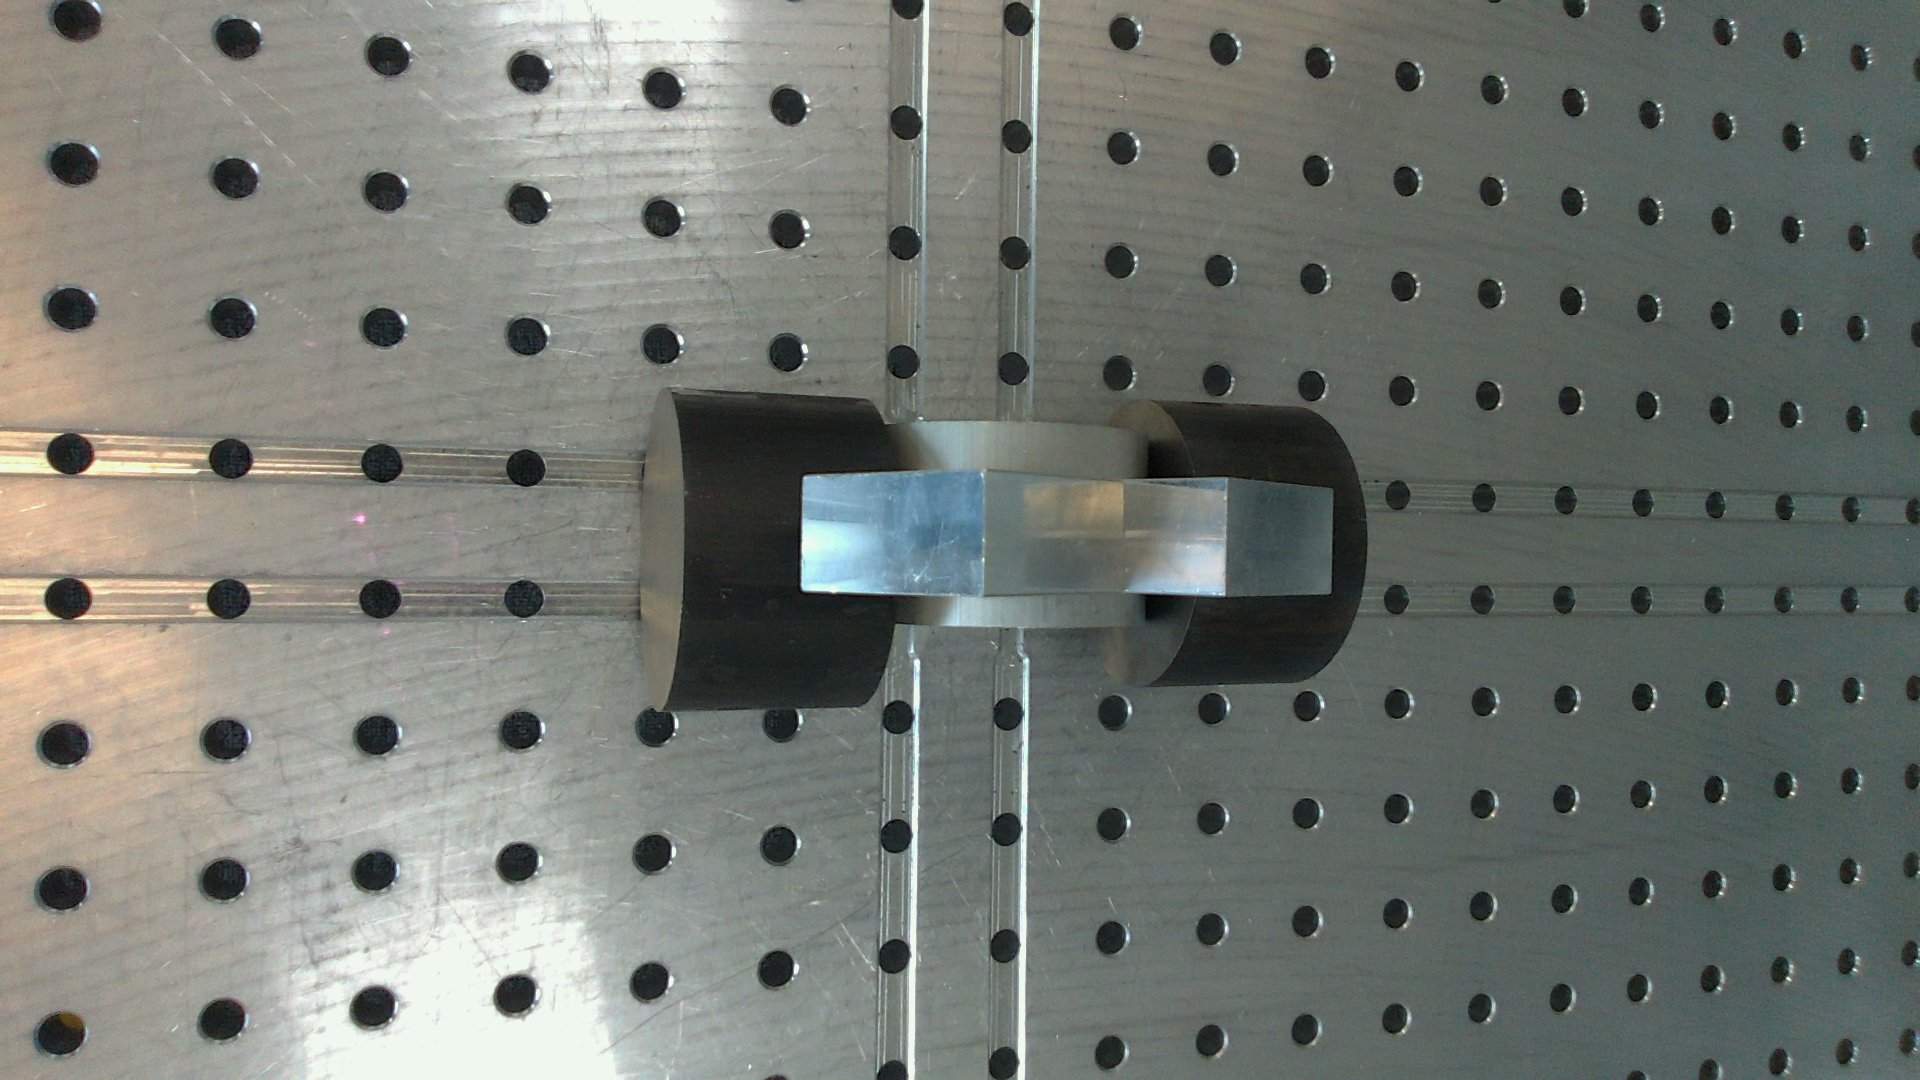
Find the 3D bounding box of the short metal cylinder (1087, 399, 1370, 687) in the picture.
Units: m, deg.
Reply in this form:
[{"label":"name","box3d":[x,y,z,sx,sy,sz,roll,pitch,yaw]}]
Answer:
[{"label":"short metal cylinder","box3d":[0.071,0.001,0.392,0.050,0.080,0.080,1,90,-19]}]

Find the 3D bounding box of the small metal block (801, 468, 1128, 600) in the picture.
[{"label":"small metal block","box3d":[0.001,-0.001,0.297,0.050,0.050,0.025,1,90,-51]}]

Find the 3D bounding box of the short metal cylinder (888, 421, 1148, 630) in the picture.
[{"label":"short metal cylinder","box3d":[0.010,-0.003,0.370,0.080,0.080,0.050,1,90,-20]}]

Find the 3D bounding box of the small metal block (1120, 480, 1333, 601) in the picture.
[{"label":"small metal block","box3d":[0.053,0.000,0.320,0.050,0.050,0.025,1,90,-50]}]

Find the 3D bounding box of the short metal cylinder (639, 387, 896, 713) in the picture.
[{"label":"short metal cylinder","box3d":[-0.051,0.003,0.348,0.050,0.080,0.080,1,90,-20]}]
